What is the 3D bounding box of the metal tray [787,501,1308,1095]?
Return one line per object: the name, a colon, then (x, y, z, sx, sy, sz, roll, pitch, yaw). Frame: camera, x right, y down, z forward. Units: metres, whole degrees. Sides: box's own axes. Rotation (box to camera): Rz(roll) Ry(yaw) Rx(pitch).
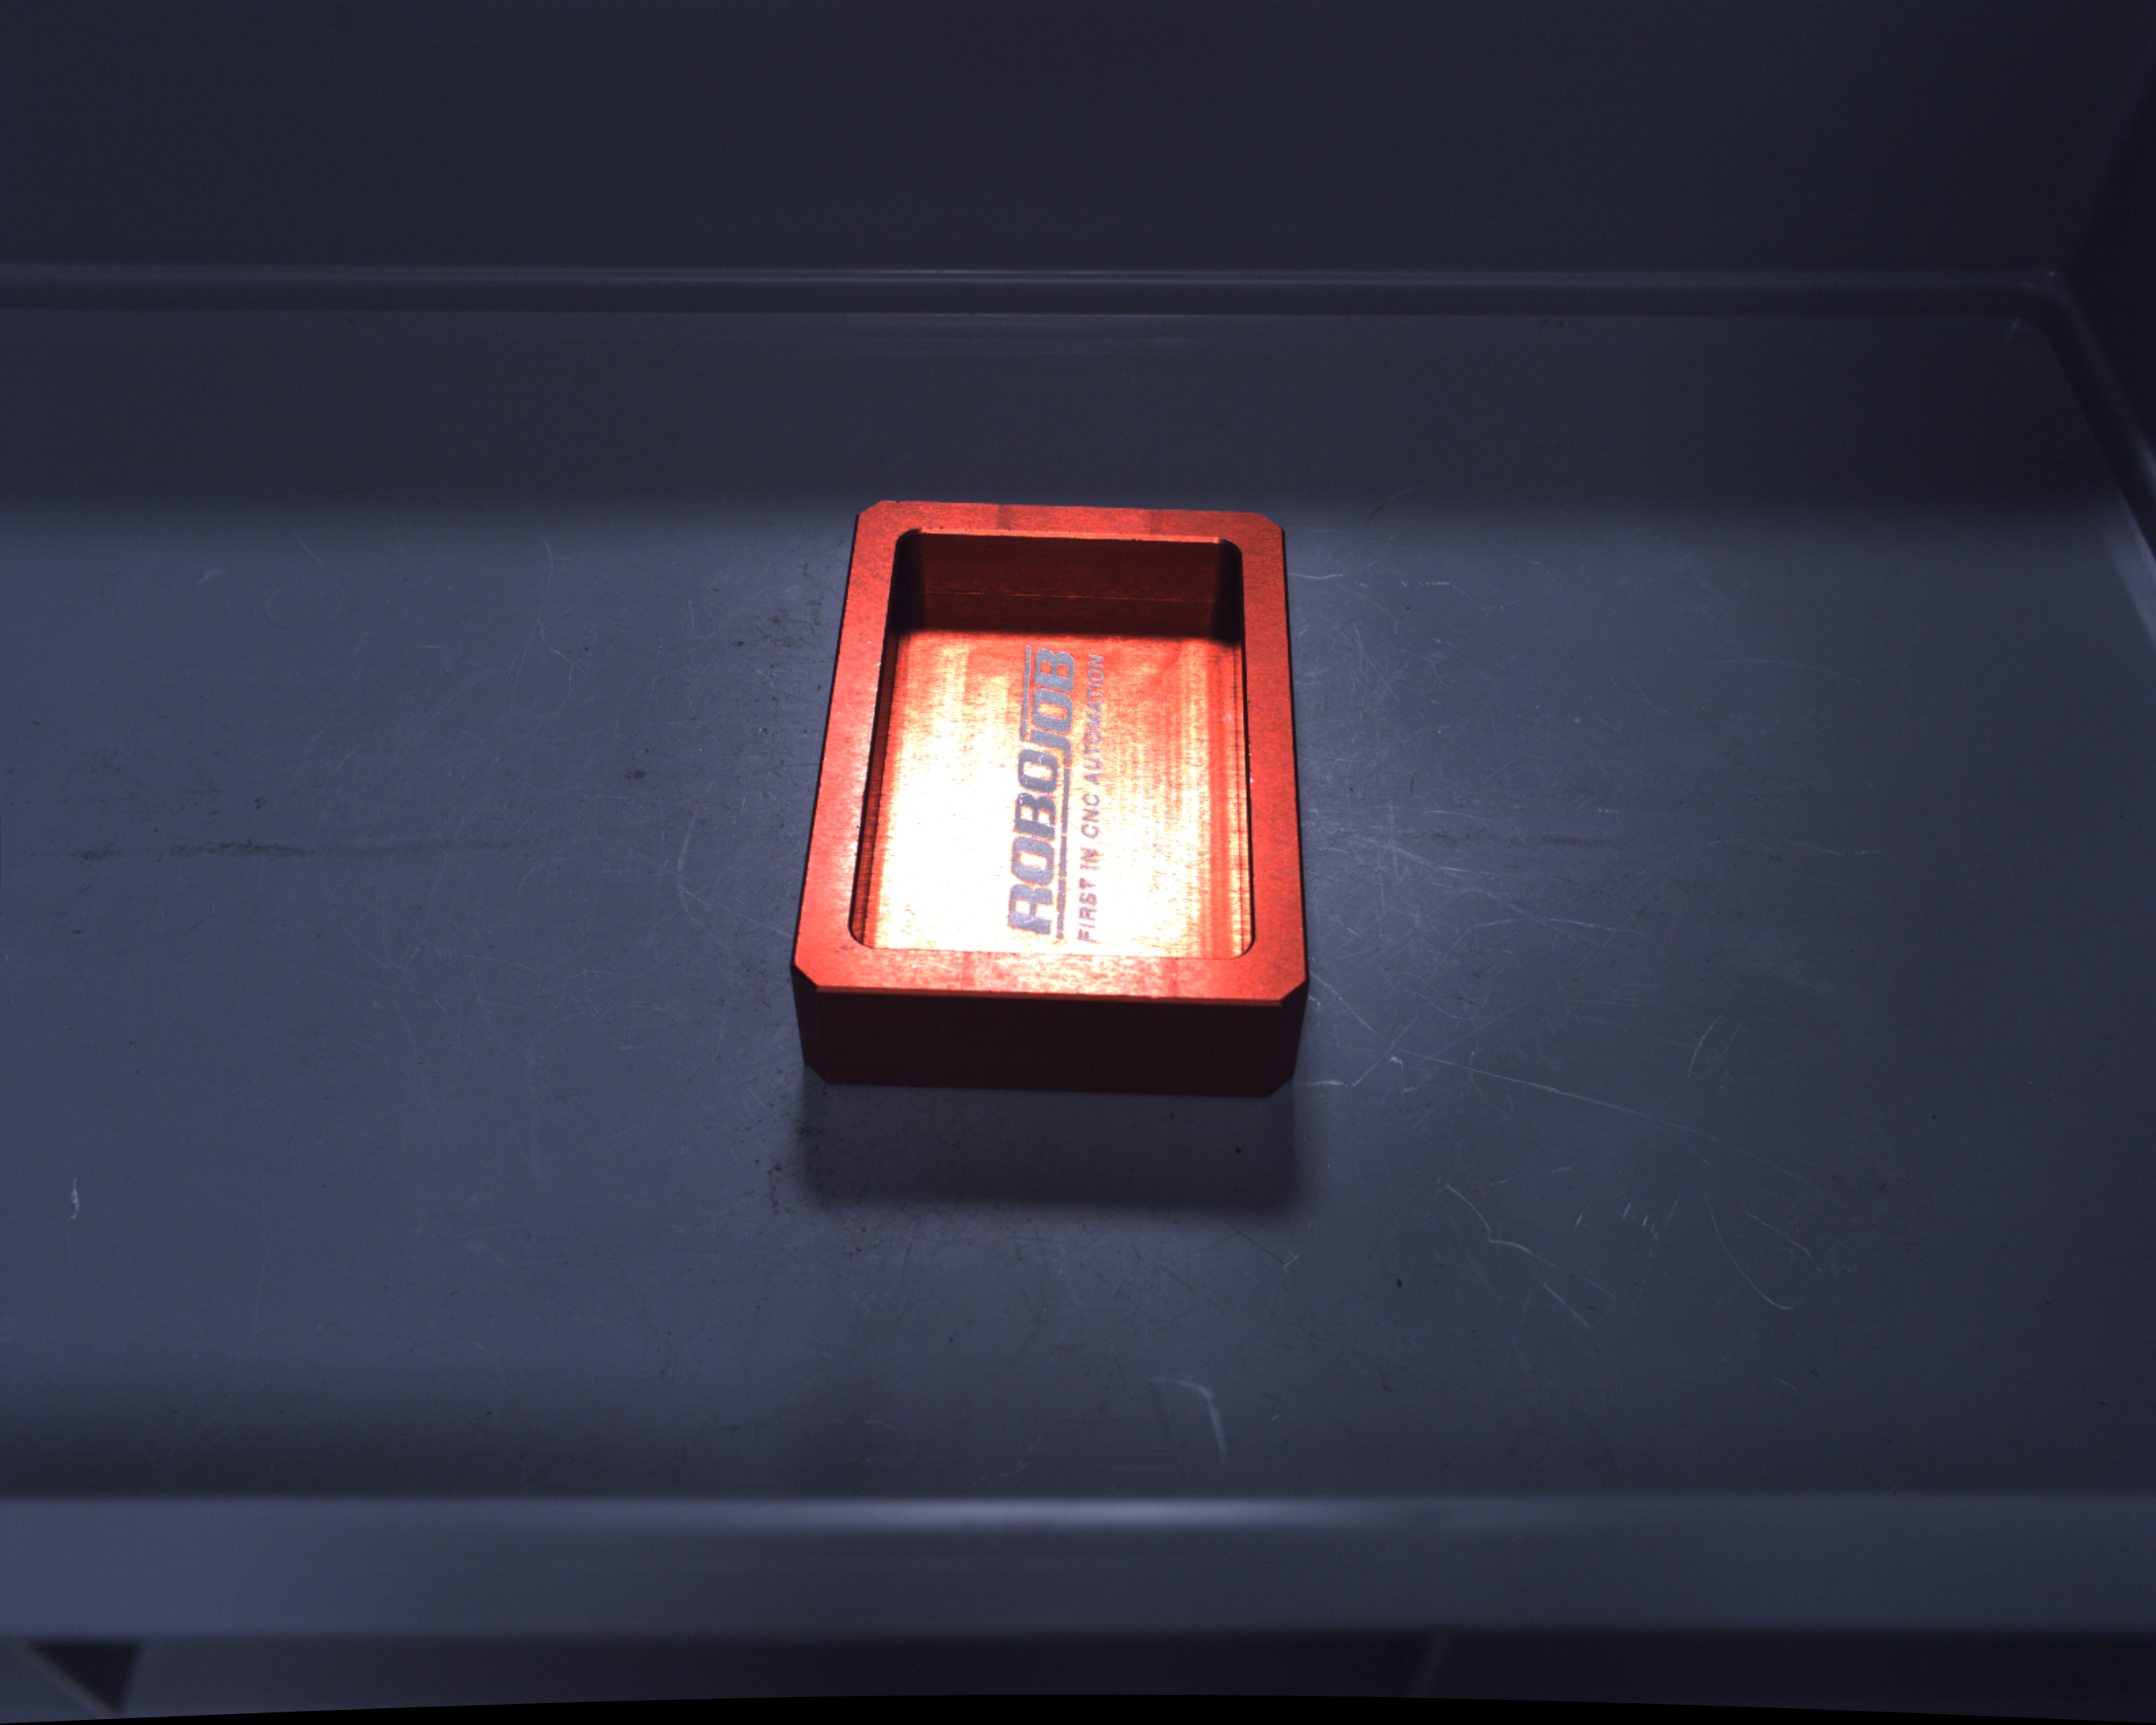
metal tray: (-0.004, -0.017, 0.412, 0.091, 0.030, 0.130, 2, 50, 0)
